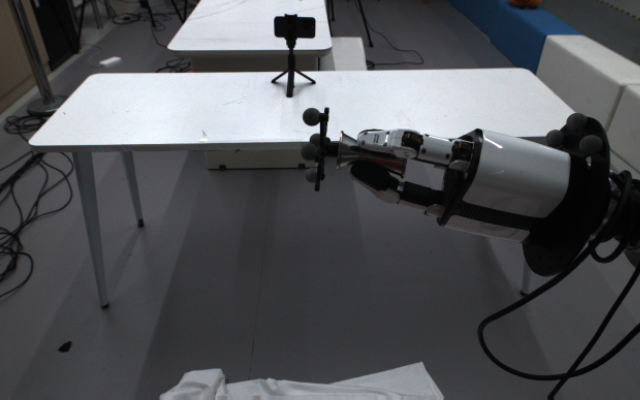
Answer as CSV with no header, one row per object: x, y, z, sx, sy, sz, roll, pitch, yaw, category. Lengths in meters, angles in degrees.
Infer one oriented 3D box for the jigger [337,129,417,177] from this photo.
0.061,-0.051,0.497,0.071,0.043,0.043,5,35,4,jigger
